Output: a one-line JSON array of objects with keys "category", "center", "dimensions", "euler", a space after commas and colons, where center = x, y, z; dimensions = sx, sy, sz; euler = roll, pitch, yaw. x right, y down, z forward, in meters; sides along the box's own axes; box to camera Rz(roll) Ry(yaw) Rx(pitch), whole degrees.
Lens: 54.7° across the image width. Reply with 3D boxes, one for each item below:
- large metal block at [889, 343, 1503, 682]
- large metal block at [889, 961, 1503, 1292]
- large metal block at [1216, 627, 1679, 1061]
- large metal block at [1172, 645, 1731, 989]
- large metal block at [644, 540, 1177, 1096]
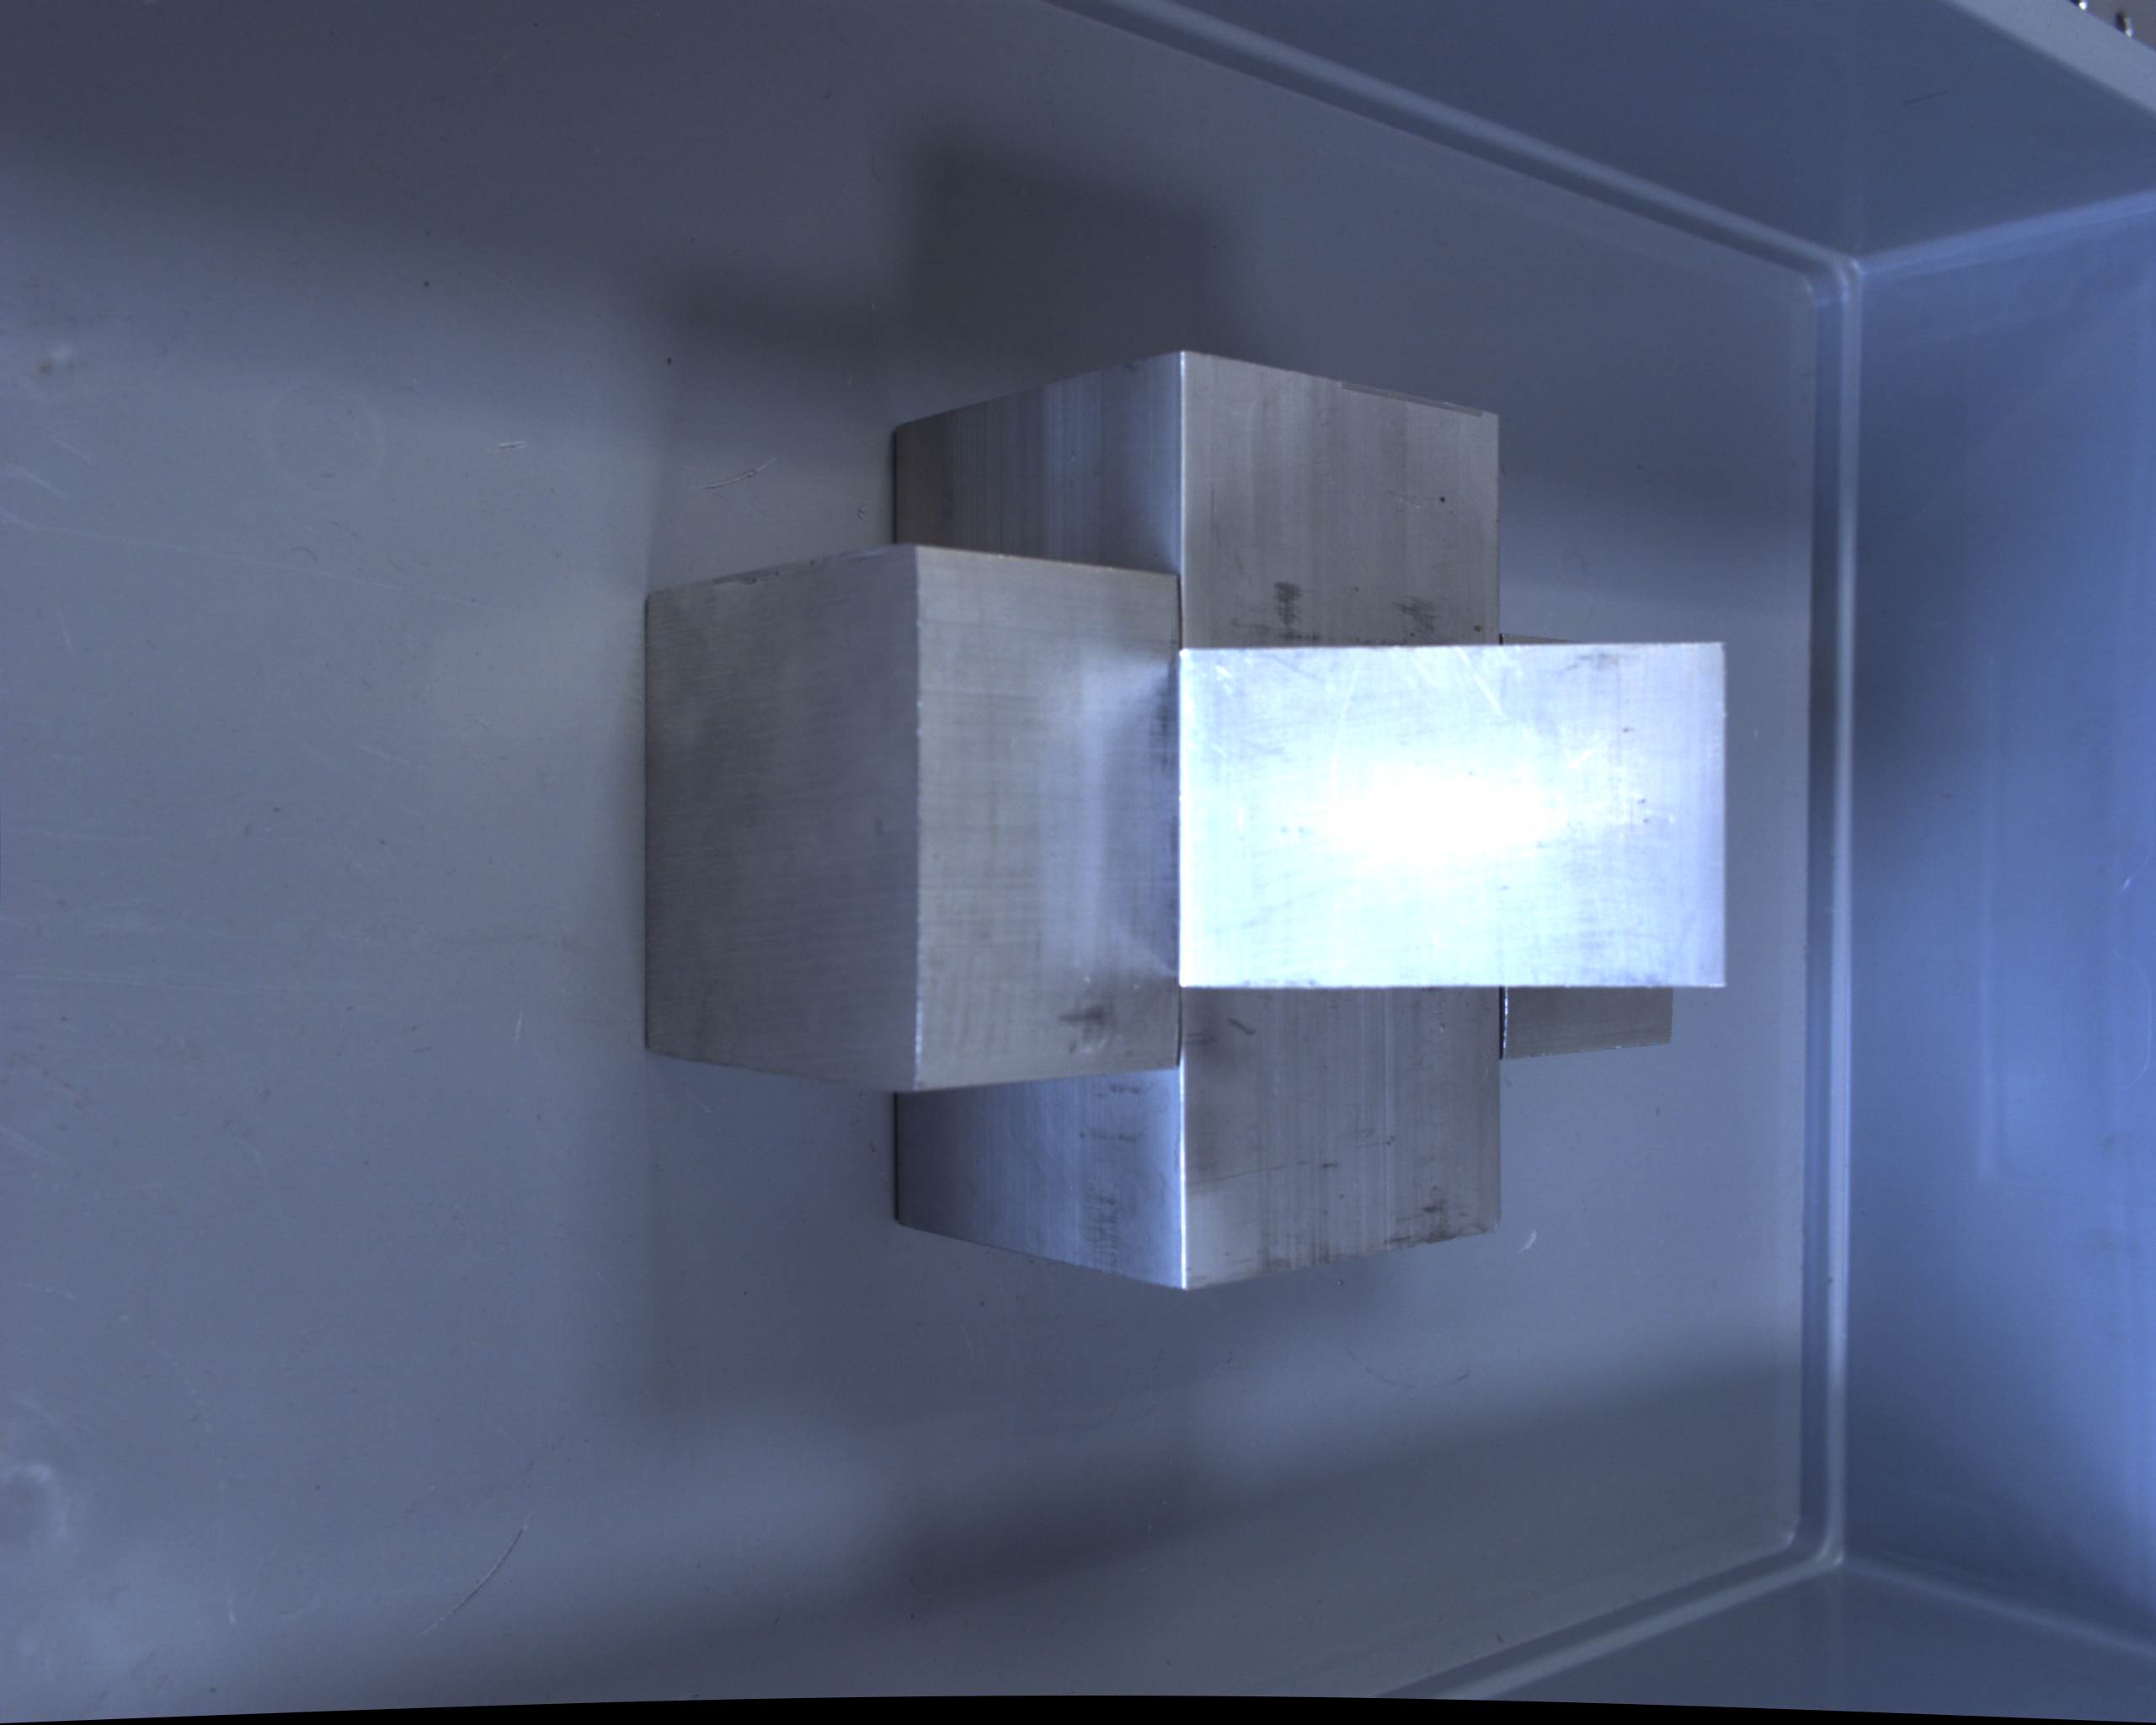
[{"category": "large metal block", "center": [0.021, -0.058, 0.387], "dimensions": [0.081, 0.080, 0.050], "euler": [0, 91, -40]}, {"category": "large metal block", "center": [0.021, 0.043, 0.387], "dimensions": [0.081, 0.080, 0.050], "euler": [0, 91, -40]}, {"category": "large metal block", "center": [0.074, -0.004, 0.429], "dimensions": [0.050, 0.080, 0.080], "euler": [0, 90, -41]}, {"category": "large metal block", "center": [0.058, -0.007, 0.344], "dimensions": [0.080, 0.080, 0.050], "euler": [-4, 94, -85]}, {"category": "large metal block", "center": [-0.030, -0.007, 0.345], "dimensions": [0.050, 0.080, 0.080], "euler": [0, 90, -40]}]
